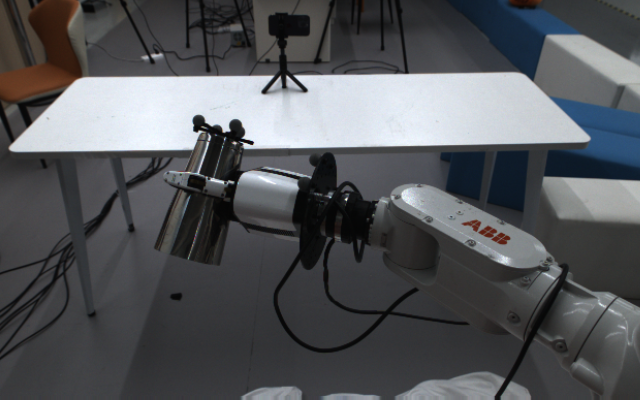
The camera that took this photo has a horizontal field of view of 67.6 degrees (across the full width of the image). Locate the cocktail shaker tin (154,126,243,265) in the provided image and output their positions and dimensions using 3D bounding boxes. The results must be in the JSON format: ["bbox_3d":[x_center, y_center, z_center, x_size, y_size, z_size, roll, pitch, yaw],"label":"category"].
[{"bbox_3d":[-0.163,-0.003,0.677,0.093,0.170,0.093,15,-6,2],"label":"cocktail shaker tin"}]
